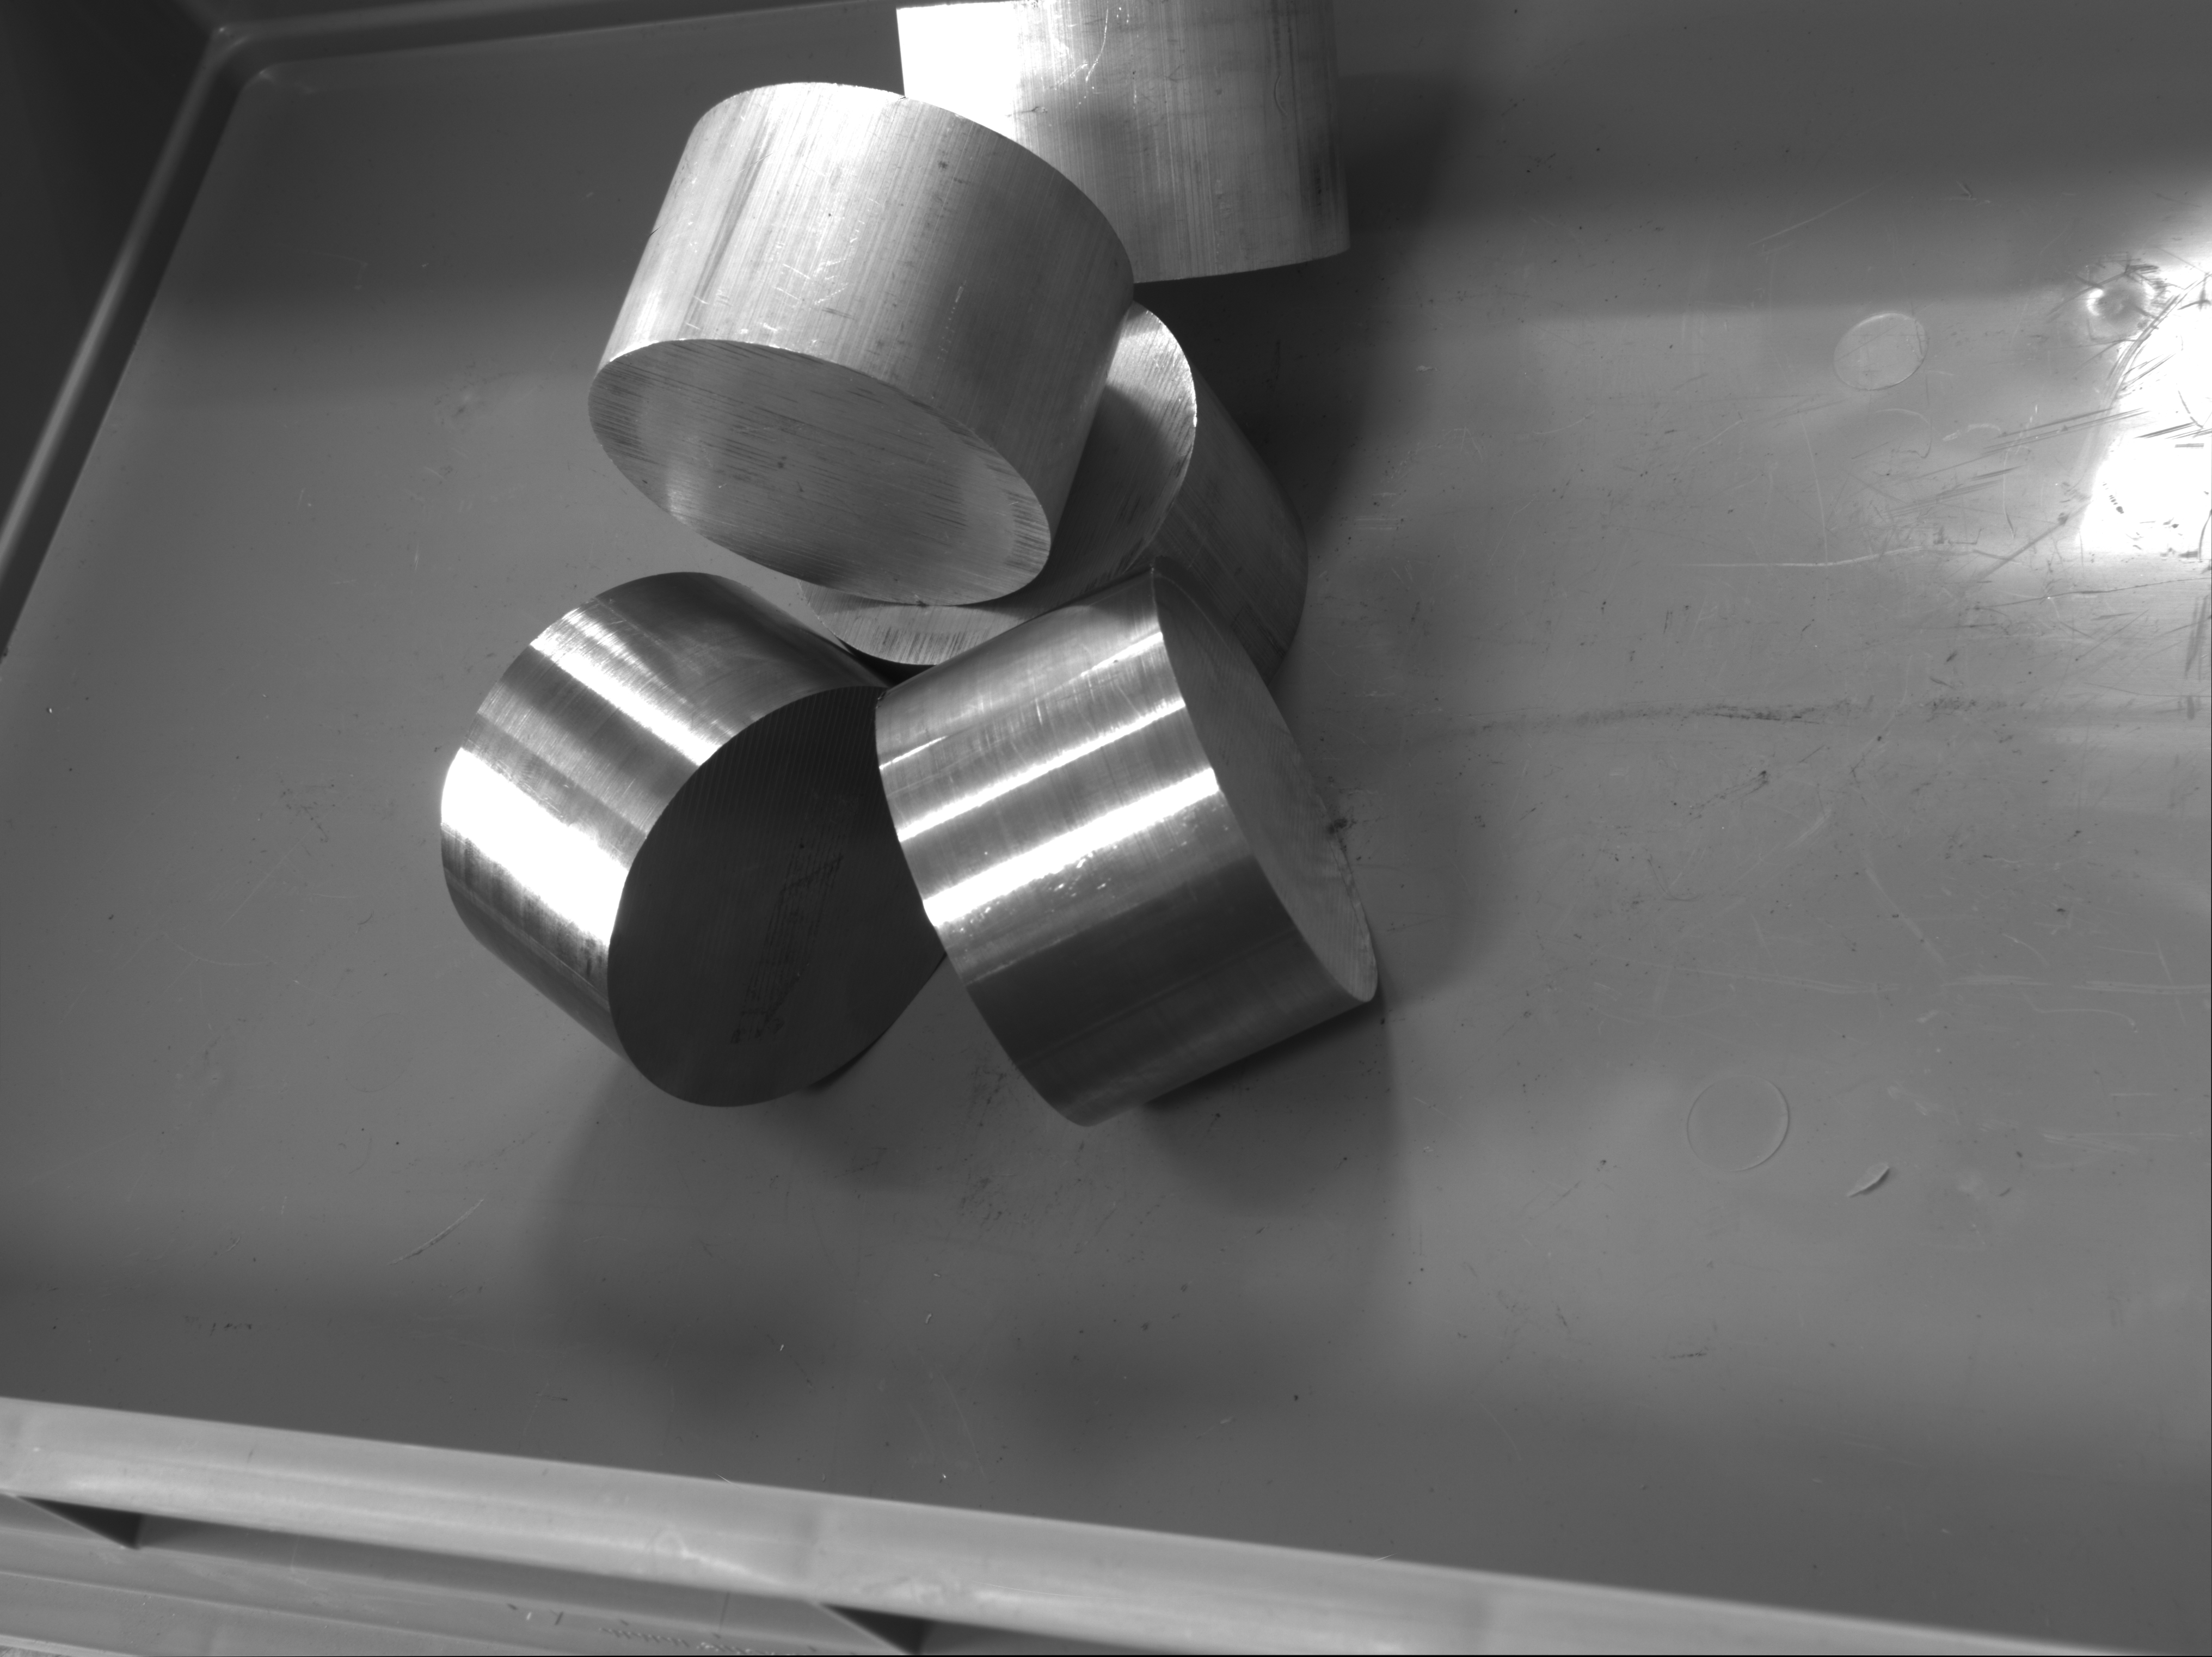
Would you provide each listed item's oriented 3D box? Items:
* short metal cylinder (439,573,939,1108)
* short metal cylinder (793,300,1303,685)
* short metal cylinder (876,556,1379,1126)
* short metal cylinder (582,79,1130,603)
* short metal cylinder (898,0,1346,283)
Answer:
[{"bbox_3d":[-0.069,0.002,0.644,0.050,0.080,0.080,33,80,39],"label":"short metal cylinder"},{"bbox_3d":[-0.011,-0.052,0.664,0.080,0.050,0.080,-14,56,21],"label":"short metal cylinder"},{"bbox_3d":[0.004,0.002,0.604,0.050,0.080,0.080,-26,52,13],"label":"short metal cylinder"},{"bbox_3d":[-0.041,-0.080,0.614,0.080,0.080,0.050,3,63,30],"label":"short metal cylinder"},{"bbox_3d":[0.003,-0.130,0.678,0.080,0.080,0.050,4,106,30],"label":"short metal cylinder"}]
